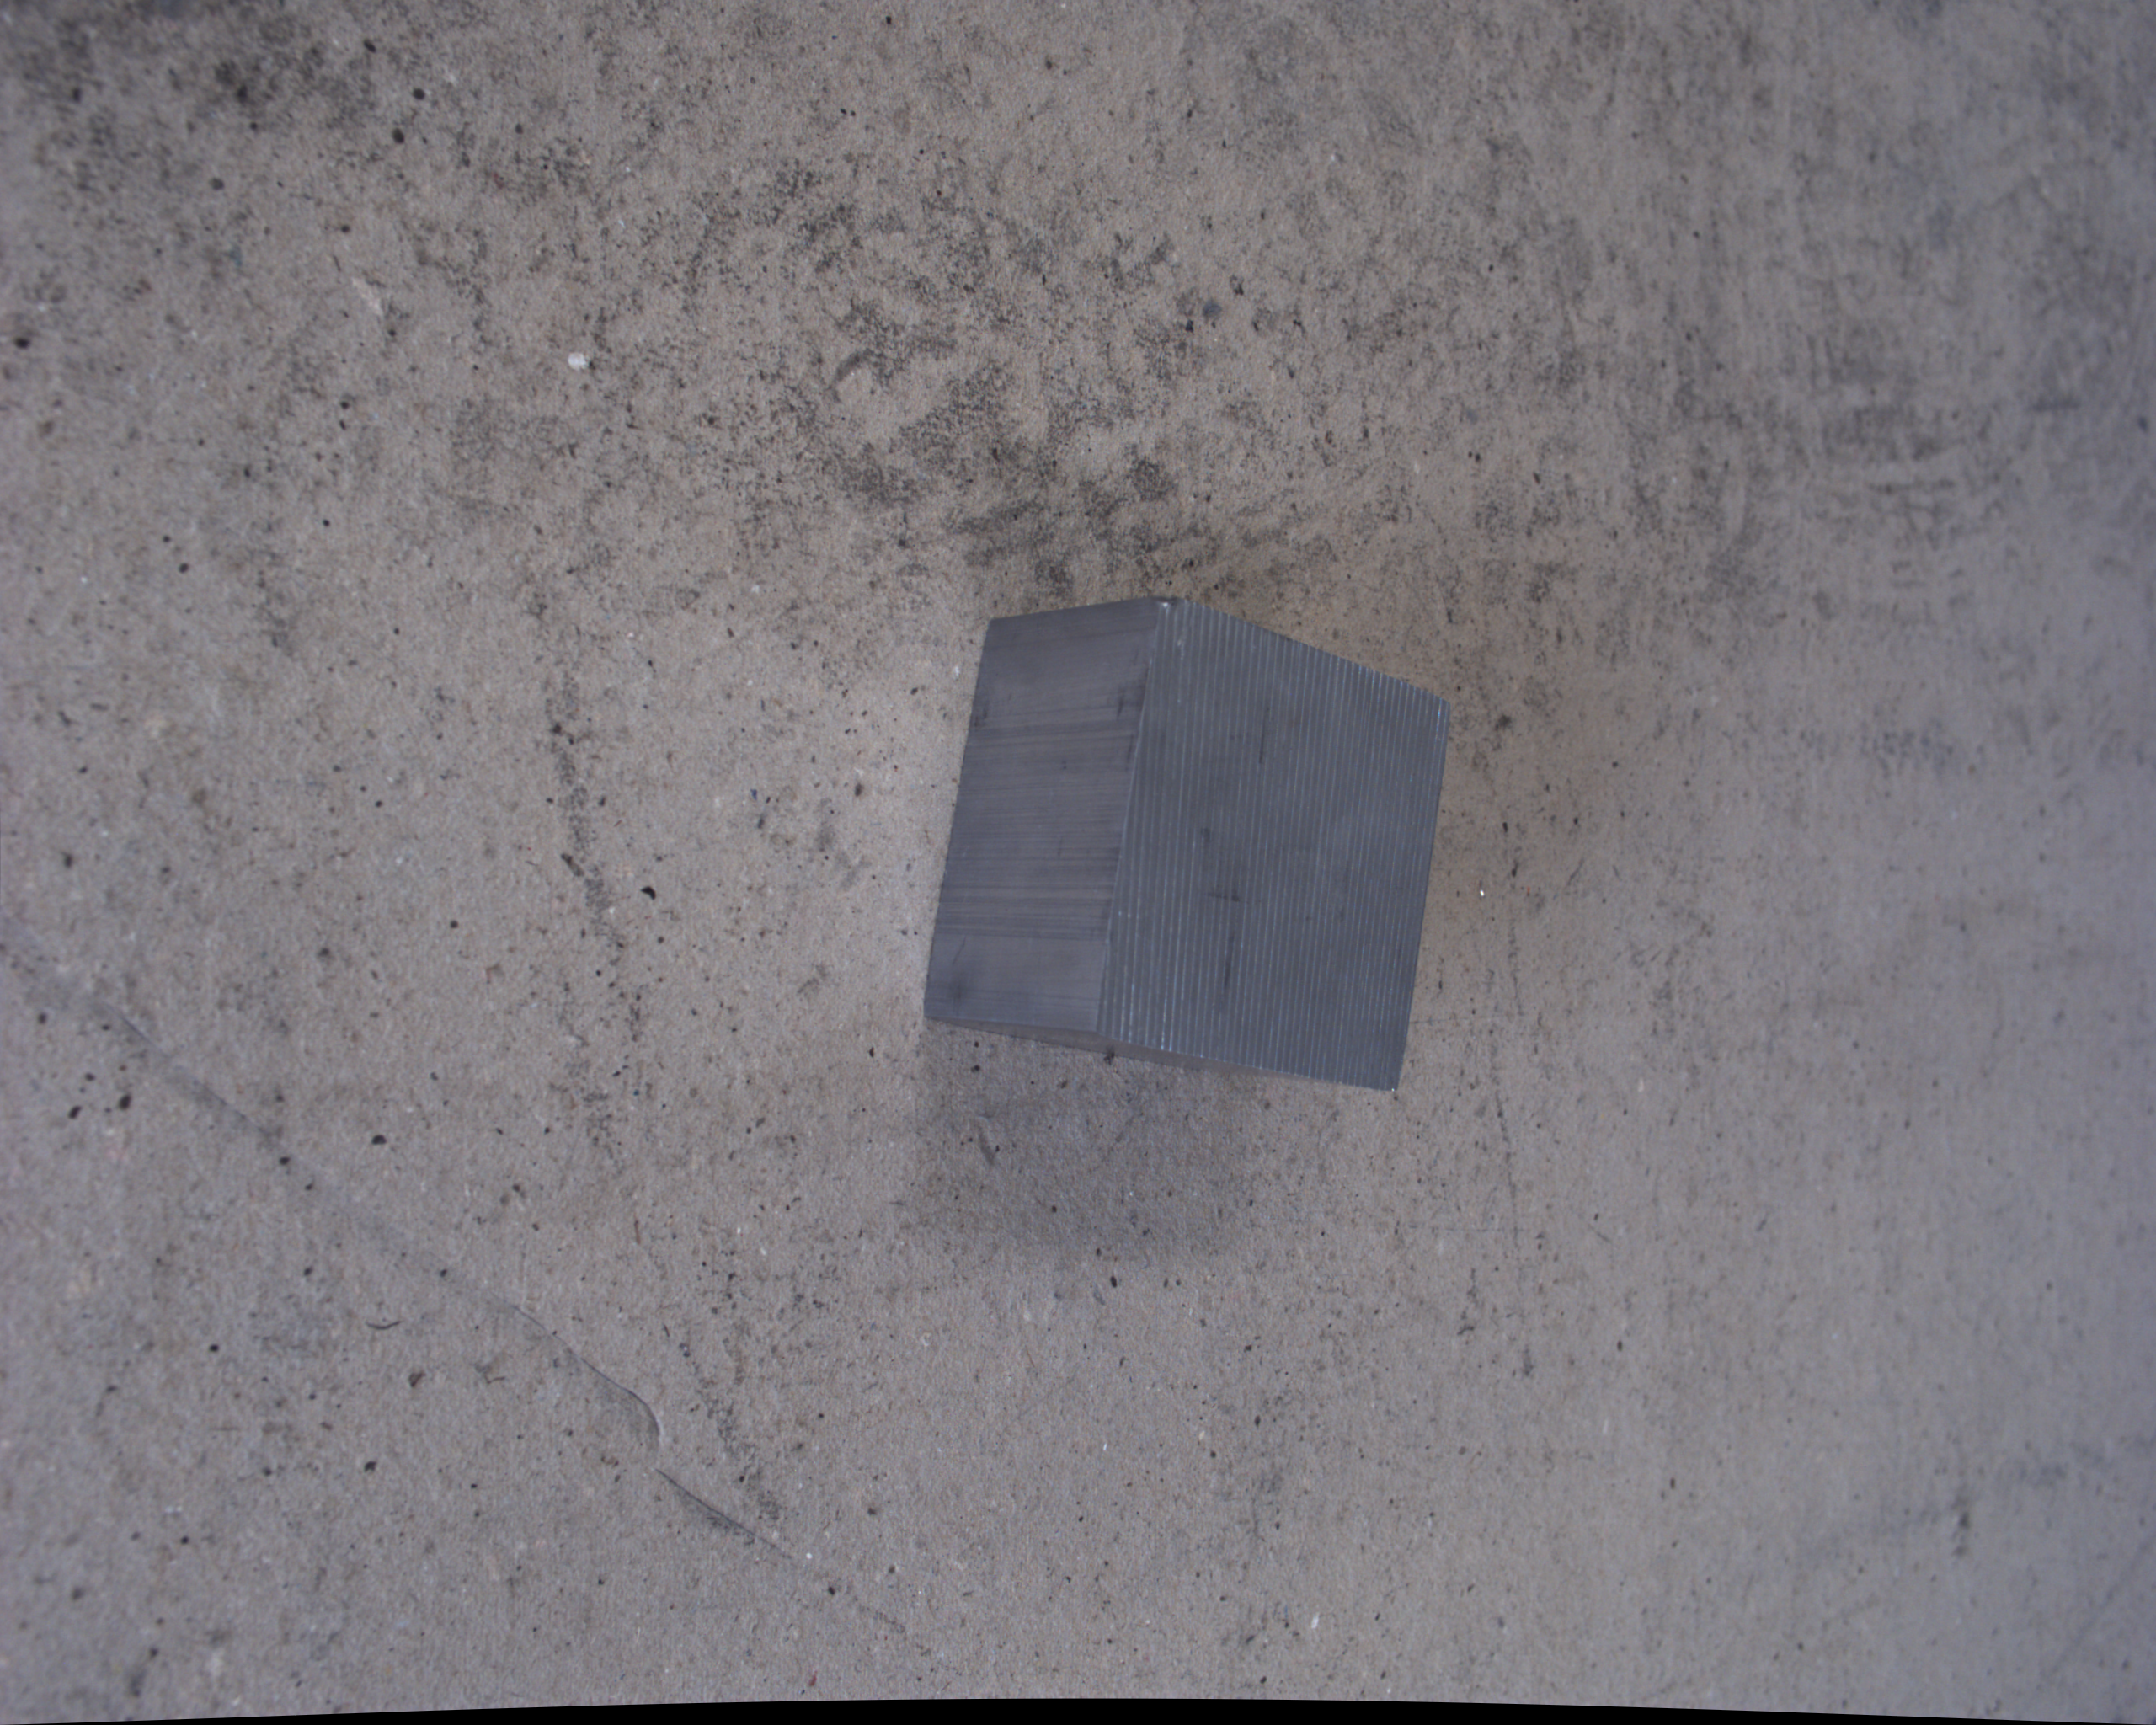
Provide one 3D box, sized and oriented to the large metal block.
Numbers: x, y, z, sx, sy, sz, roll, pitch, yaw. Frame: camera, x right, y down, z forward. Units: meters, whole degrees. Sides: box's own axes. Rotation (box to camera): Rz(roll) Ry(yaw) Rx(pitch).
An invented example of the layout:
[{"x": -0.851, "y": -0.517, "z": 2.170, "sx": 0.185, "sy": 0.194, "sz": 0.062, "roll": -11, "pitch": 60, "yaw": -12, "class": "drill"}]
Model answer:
[{"x": 0.023, "y": -0.001, "z": 0.408, "sx": 0.080, "sy": 0.050, "sz": 0.080, "roll": 15, "pitch": 81, "yaw": -40, "class": "large metal block"}]
